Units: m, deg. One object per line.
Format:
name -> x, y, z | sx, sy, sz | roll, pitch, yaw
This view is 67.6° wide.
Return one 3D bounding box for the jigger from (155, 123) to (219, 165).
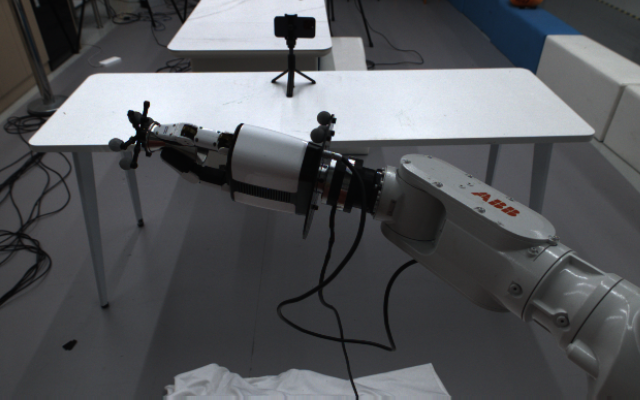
jigger -> -0.174, -0.076, 0.615 | 0.071, 0.043, 0.043 | 12, 36, 4
